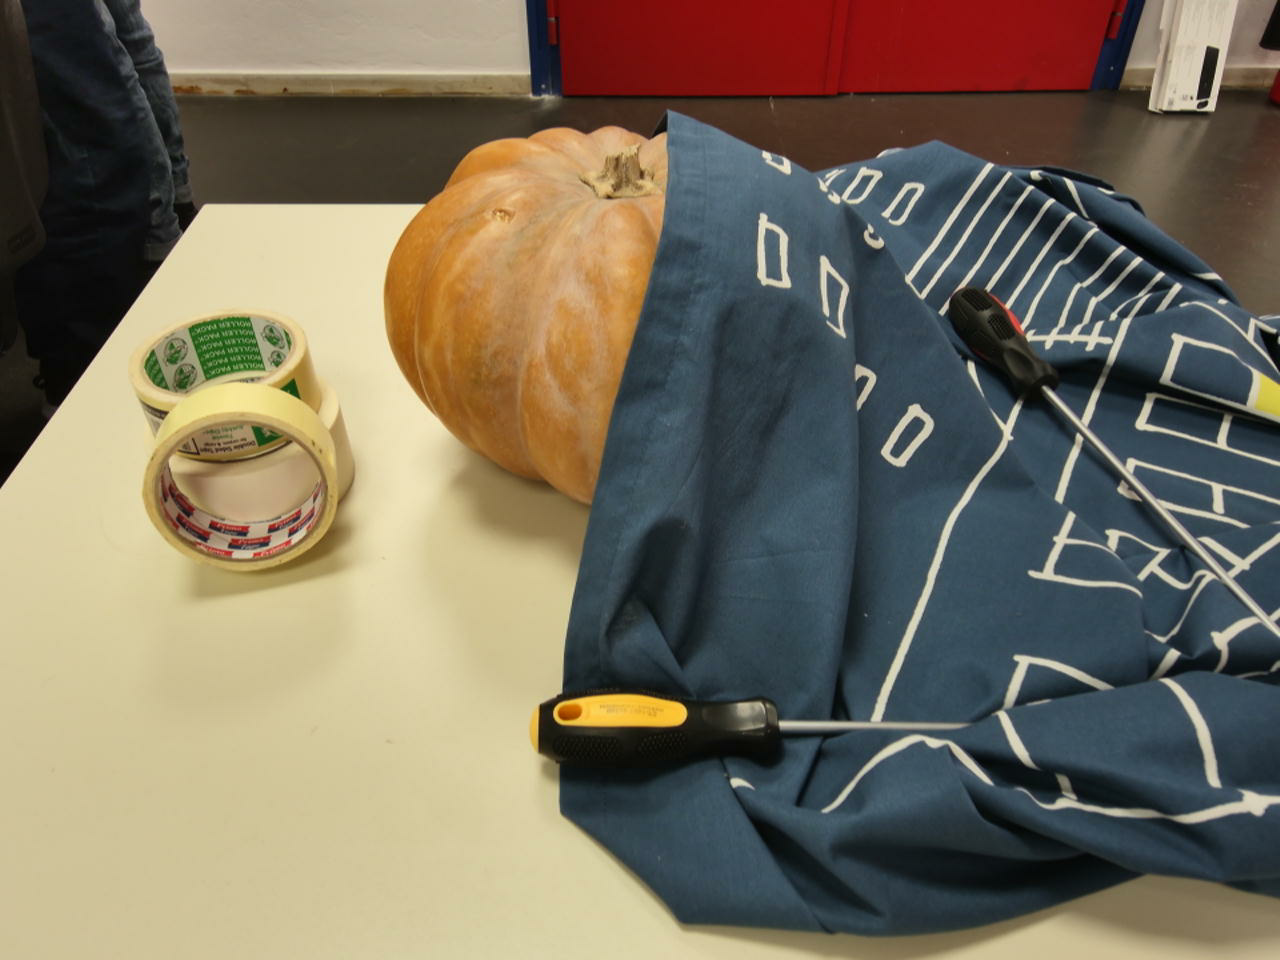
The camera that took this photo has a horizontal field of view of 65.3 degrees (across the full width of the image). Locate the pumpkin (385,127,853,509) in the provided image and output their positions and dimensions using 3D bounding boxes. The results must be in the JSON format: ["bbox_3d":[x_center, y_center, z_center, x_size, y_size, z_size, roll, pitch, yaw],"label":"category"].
[{"bbox_3d":[-0.011,-0.101,0.580,0.277,0.181,0.277,0,39,0],"label":"pumpkin"}]
